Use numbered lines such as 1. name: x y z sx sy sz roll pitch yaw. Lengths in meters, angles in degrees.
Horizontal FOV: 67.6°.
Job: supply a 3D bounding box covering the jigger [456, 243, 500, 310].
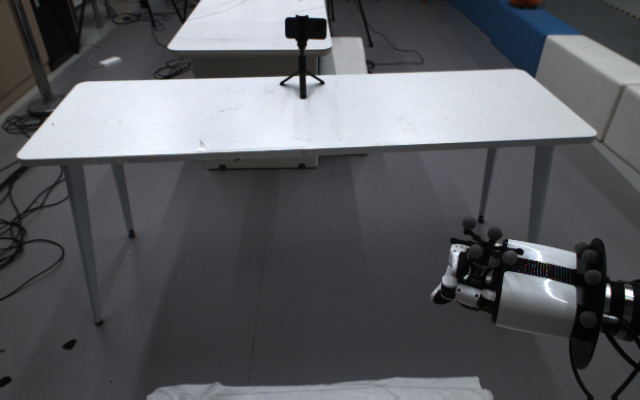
1. jigger: 0.204 0.103 0.628 0.043 0.071 0.043 6 26 -3
